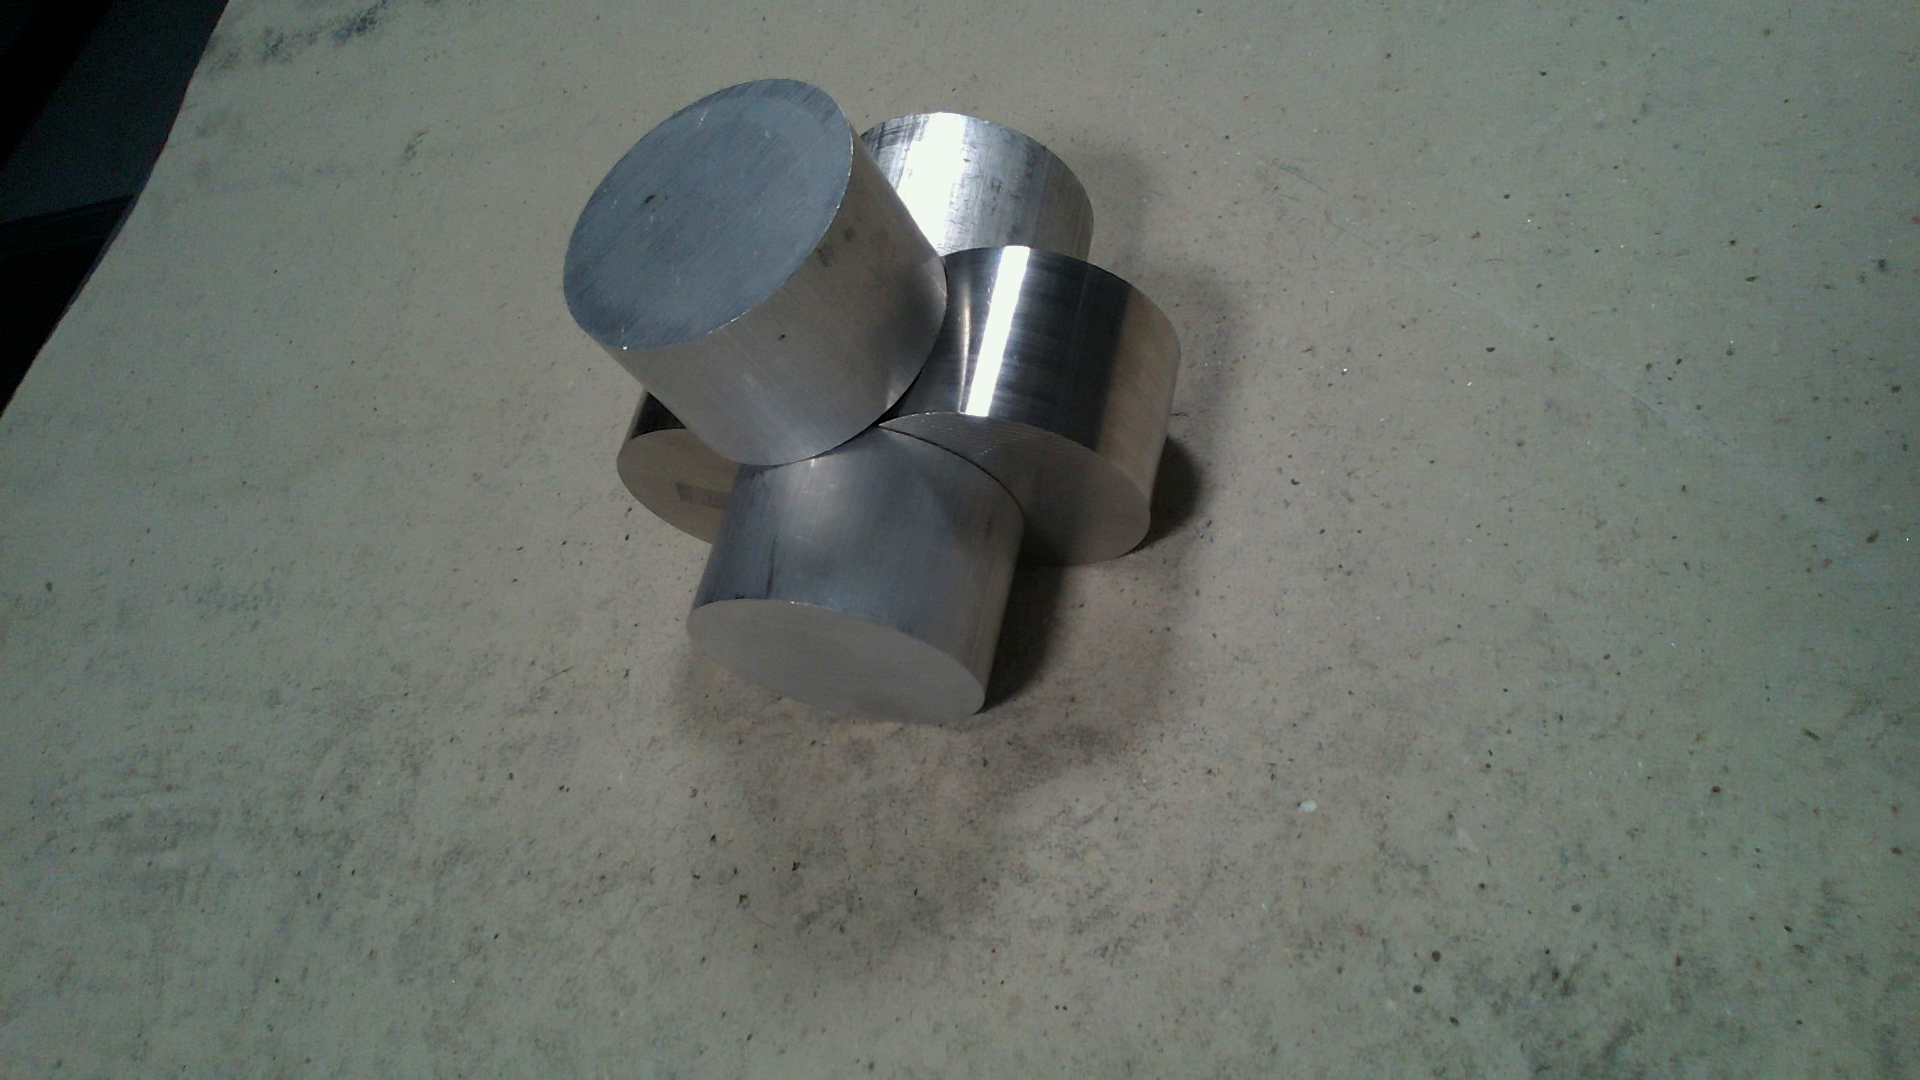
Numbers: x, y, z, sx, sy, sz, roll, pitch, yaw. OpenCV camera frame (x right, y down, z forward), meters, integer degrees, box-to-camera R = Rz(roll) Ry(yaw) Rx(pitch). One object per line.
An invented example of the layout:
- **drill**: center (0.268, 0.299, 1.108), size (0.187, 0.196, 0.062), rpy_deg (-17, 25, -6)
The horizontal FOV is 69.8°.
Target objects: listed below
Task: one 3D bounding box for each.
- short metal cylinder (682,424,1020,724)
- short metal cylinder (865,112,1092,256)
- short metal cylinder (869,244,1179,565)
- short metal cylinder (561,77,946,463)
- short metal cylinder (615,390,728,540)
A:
- **short metal cylinder**: center (-0.027, 0.011, 0.367), size (0.080, 0.080, 0.050), rpy_deg (0, 61, 28)
- **short metal cylinder**: center (-0.004, -0.079, 0.409), size (0.080, 0.080, 0.050), rpy_deg (-2, 61, 28)
- **short metal cylinder**: center (0.016, -0.034, 0.371), size (0.080, 0.080, 0.050), rpy_deg (-1, 61, 28)
- **short metal cylinder**: center (-0.050, -0.066, 0.342), size (0.080, 0.050, 0.080), rpy_deg (-14, 56, 21)
- **short metal cylinder**: center (-0.055, -0.033, 0.409), size (0.080, 0.080, 0.050), rpy_deg (-1, 61, 28)
